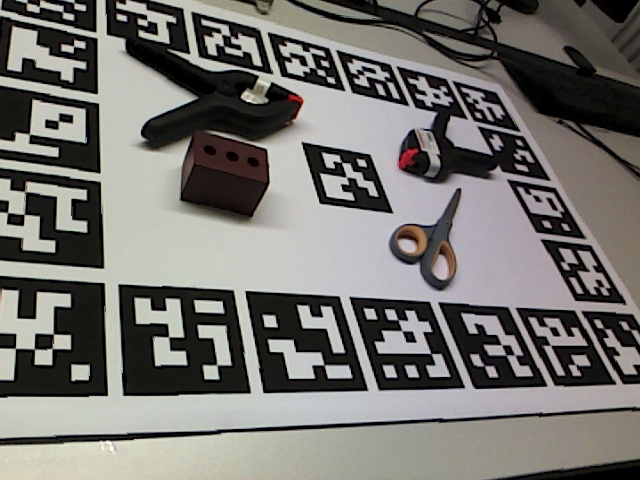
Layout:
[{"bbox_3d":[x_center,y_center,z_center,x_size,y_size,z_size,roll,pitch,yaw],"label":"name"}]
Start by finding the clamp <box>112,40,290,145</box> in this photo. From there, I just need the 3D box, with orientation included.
[{"bbox_3d":[-0.129,-0.161,0.720,0.201,0.037,0.166,2,48,-31],"label":"clamp"}]

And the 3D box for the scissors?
[{"bbox_3d":[0.135,-0.014,0.758,0.087,0.016,0.202,40,41,-5],"label":"scissors"}]

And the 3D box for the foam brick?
[{"bbox_3d":[-0.110,-0.058,0.630,0.078,0.051,0.053,9,50,-19],"label":"foam brick"}]

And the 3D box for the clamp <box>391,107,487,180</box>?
[{"bbox_3d":[0.158,-0.126,0.868,0.164,0.037,0.122,-24,74,-42],"label":"clamp"}]
